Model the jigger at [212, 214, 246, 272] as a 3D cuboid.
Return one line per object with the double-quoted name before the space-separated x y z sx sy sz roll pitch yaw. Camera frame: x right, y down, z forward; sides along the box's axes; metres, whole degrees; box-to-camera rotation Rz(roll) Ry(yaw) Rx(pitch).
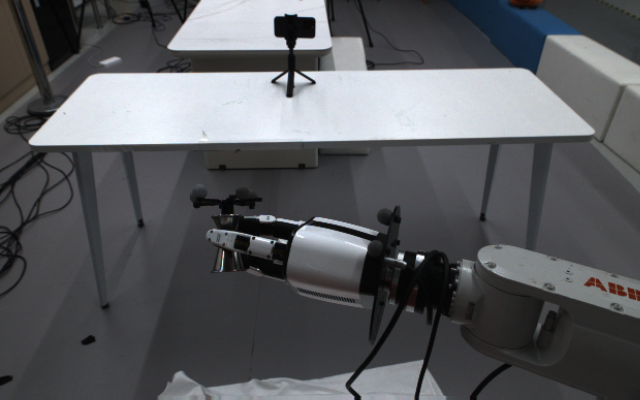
"jigger" -0.112 0.053 0.589 0.043 0.071 0.043 -2 -7 0
